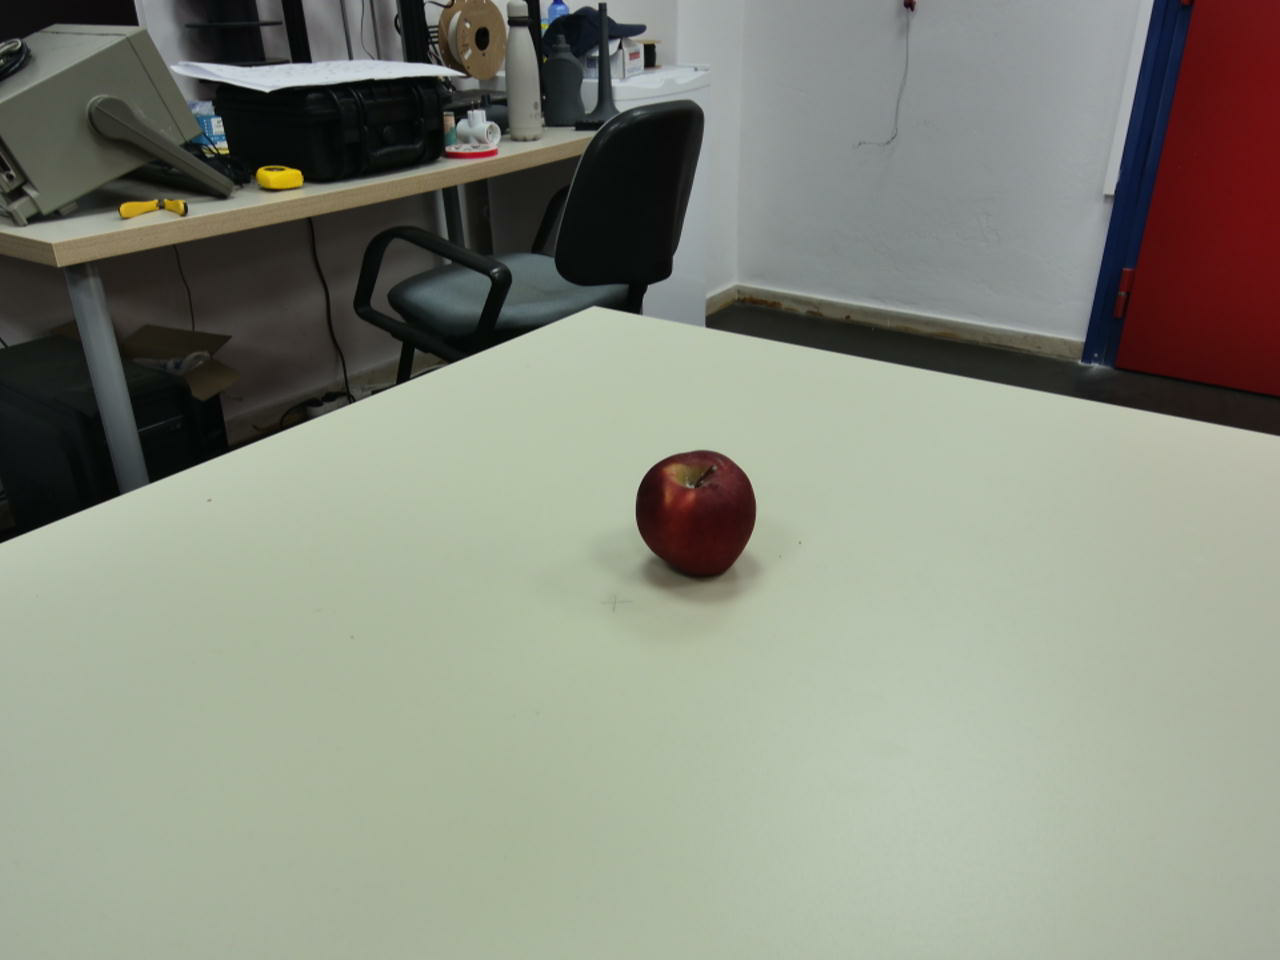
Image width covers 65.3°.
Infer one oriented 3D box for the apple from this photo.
[{"bbox_3d":[0.032,0.019,0.572,0.070,0.072,0.070,1,25,0],"label":"apple"}]
